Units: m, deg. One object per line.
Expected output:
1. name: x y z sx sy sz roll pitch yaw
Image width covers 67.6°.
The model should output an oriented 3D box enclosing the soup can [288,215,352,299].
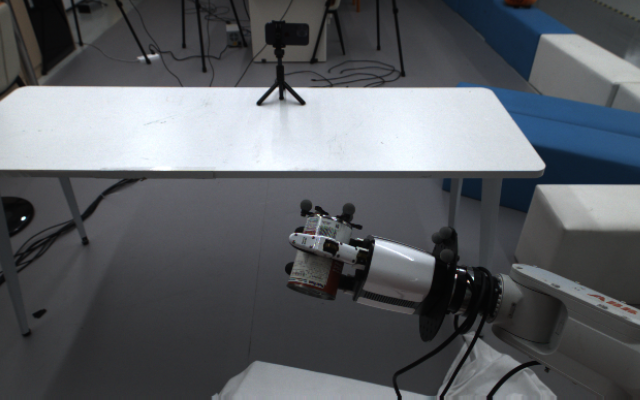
1. soup can: 0.002 0.078 0.659 0.067 0.067 0.101 11 72 13
